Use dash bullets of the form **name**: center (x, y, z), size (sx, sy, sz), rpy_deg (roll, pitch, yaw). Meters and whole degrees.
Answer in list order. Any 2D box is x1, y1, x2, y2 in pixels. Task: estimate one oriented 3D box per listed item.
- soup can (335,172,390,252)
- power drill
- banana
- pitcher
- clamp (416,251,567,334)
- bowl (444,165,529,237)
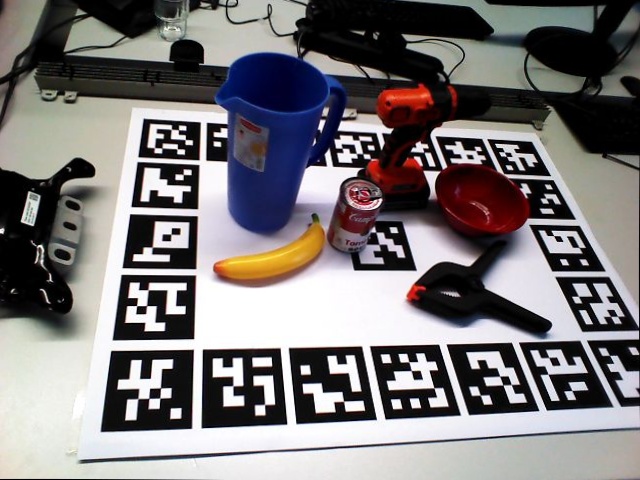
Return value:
- **soup can**: center (0.063, -0.041, 0.775), size (0.068, 0.102, 0.067), rpy_deg (5, 42, -5)
- **power drill**: center (0.175, -0.156, 0.810), size (0.184, 0.188, 0.057), rpy_deg (-4, 53, -15)
- **banana**: center (-0.057, 0.019, 0.745), size (0.196, 0.039, 0.074), rpy_deg (-22, 50, -28)
- **pitcher**: center (-0.052, -0.134, 0.733), size (0.188, 0.244, 0.133), rpy_deg (-21, 55, -26)
- **clamp**: center (0.239, 0.066, 0.756), size (0.202, 0.037, 0.164), rpy_deg (-2, 56, -13)
- **bowl**: center (0.276, -0.059, 0.861), size (0.162, 0.055, 0.160), rpy_deg (5, 52, -7)
